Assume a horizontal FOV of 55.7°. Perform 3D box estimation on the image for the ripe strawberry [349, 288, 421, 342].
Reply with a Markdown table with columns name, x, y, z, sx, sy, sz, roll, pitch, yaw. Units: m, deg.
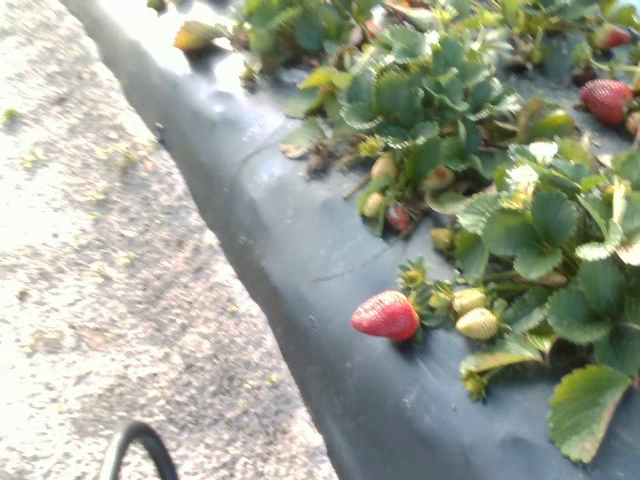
| name | x | y | z | sx | sy | sz | roll | pitch | yaw |
| --- | --- | --- | --- | --- | --- | --- | --- | --- | --- |
| ripe strawberry | 0.063 | 0.078 | 0.603 | 0.068 | 0.044 | 0.052 | -18 | 46 | -18 |
